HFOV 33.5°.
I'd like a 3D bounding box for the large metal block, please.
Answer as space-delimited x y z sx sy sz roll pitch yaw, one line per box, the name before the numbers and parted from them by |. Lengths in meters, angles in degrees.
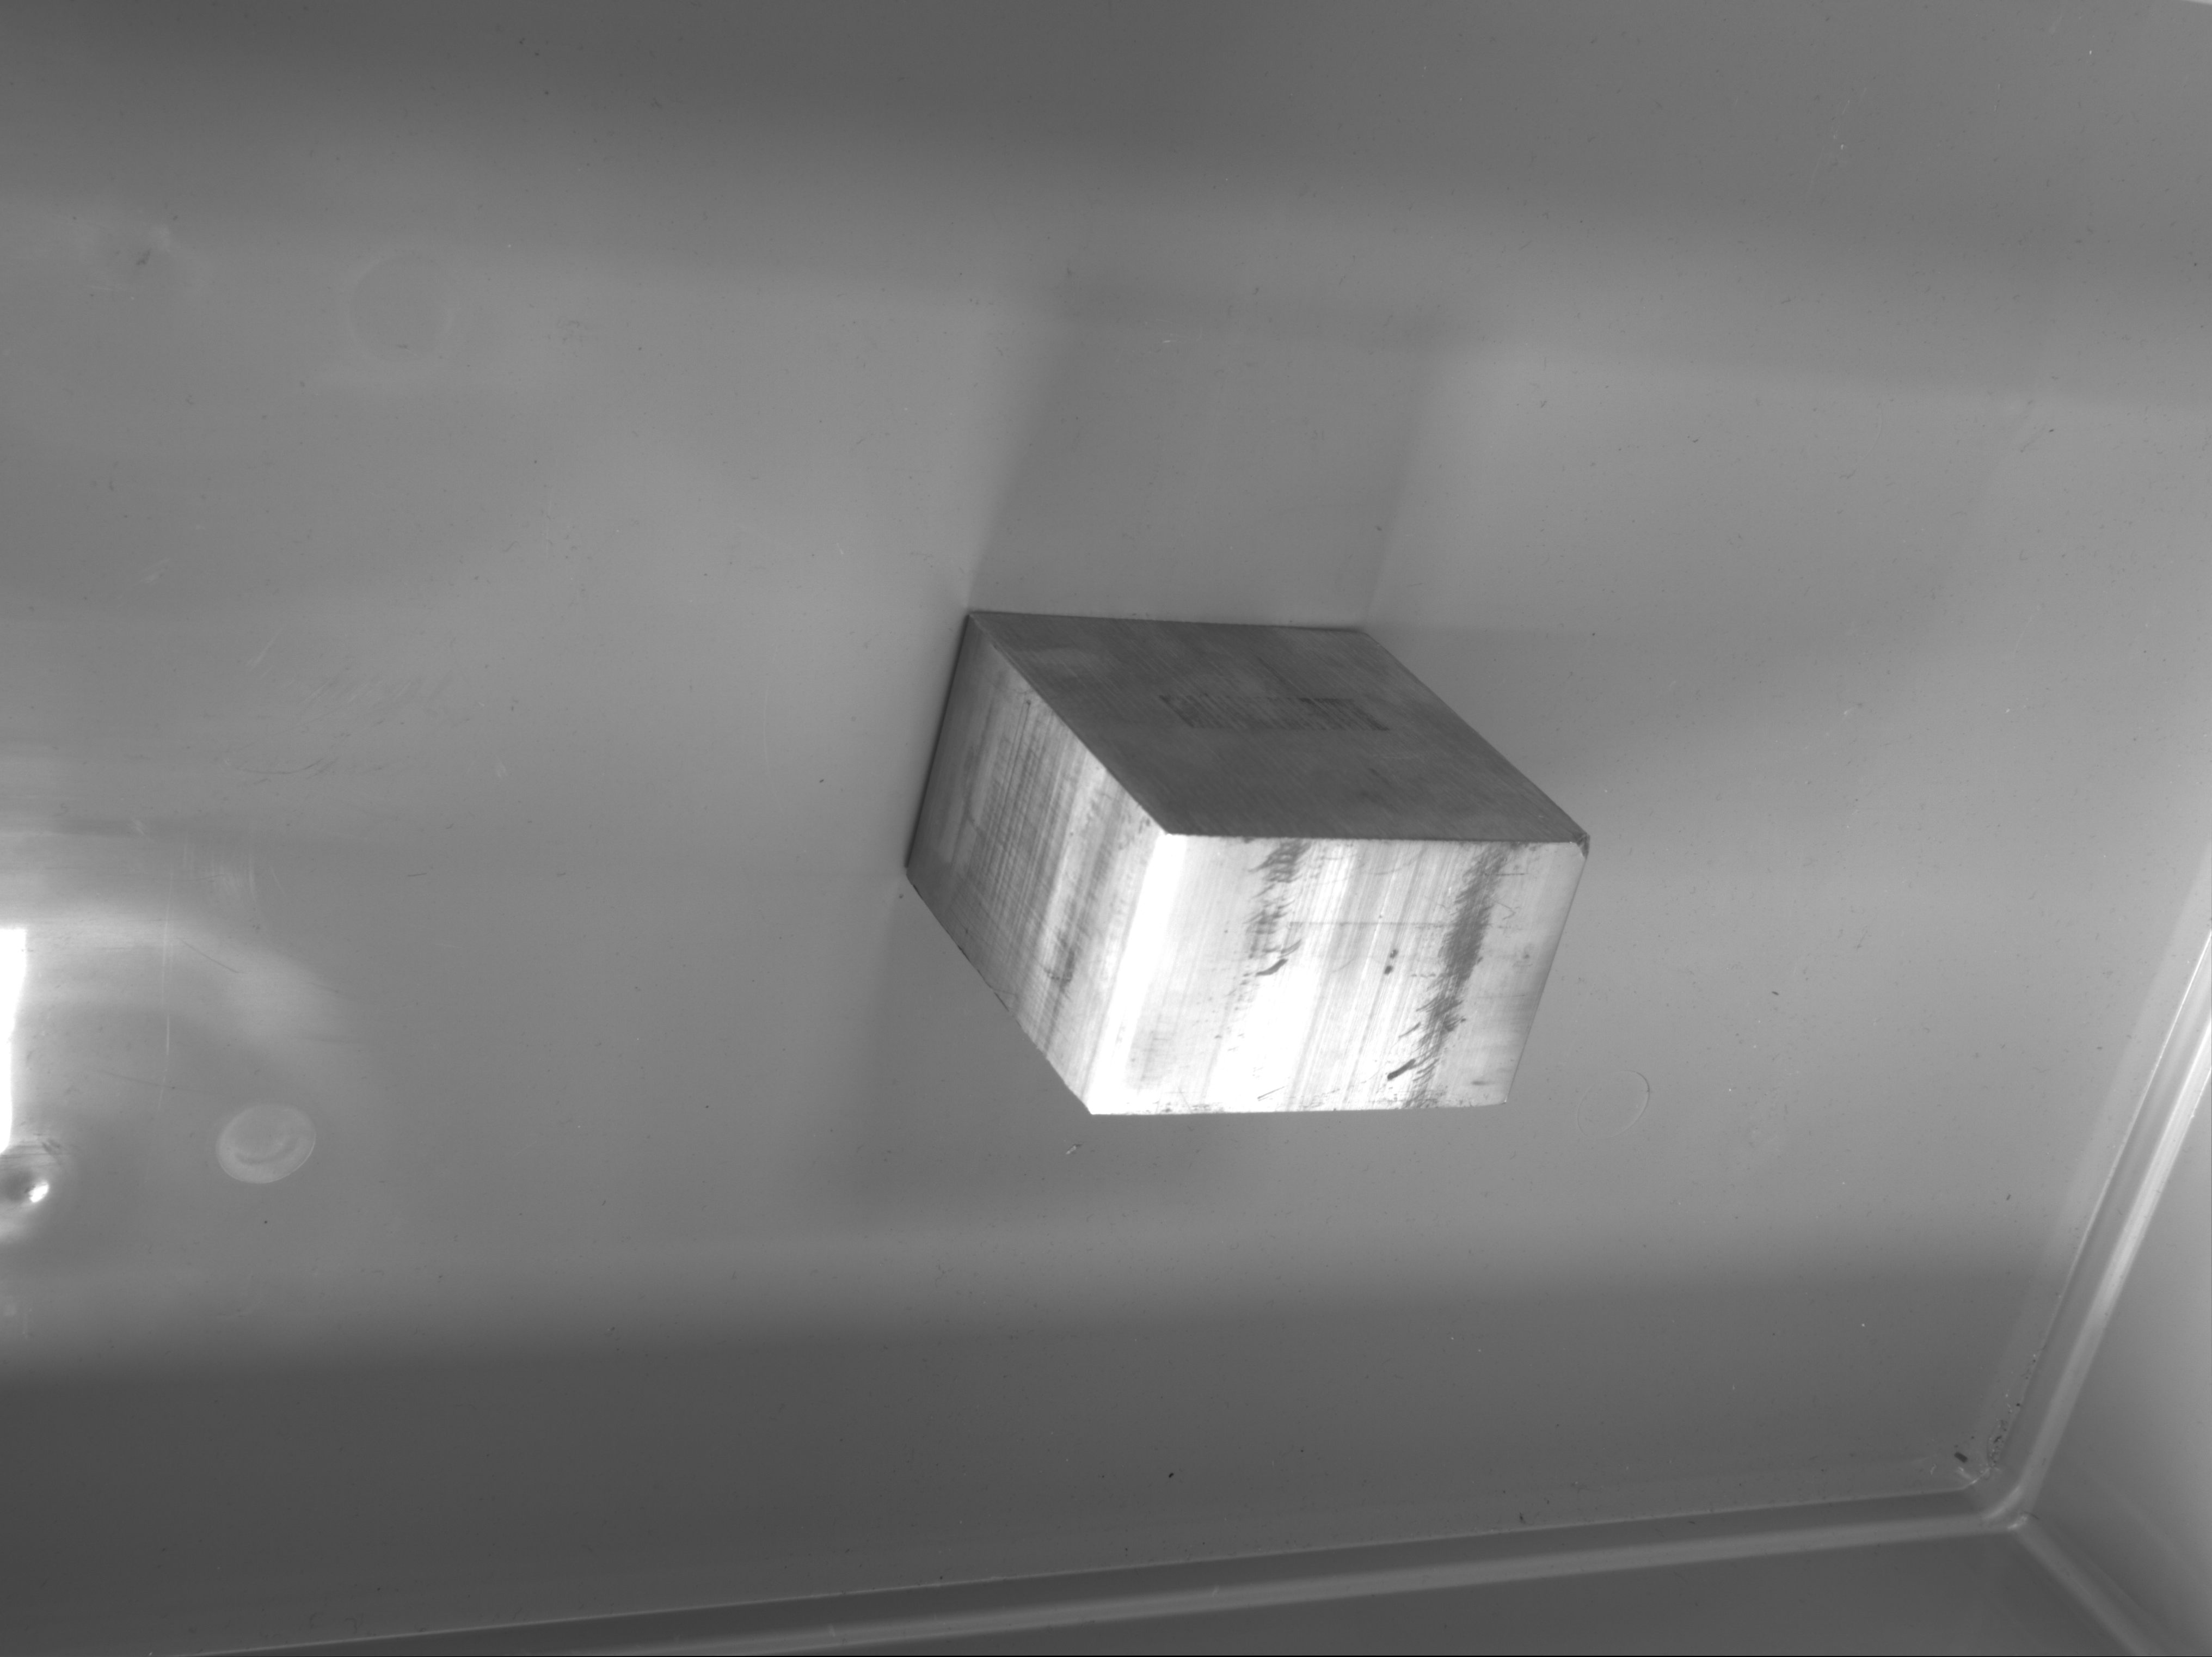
large metal block | 0.022 0.005 0.615 0.080 0.080 0.050 1 118 -29
